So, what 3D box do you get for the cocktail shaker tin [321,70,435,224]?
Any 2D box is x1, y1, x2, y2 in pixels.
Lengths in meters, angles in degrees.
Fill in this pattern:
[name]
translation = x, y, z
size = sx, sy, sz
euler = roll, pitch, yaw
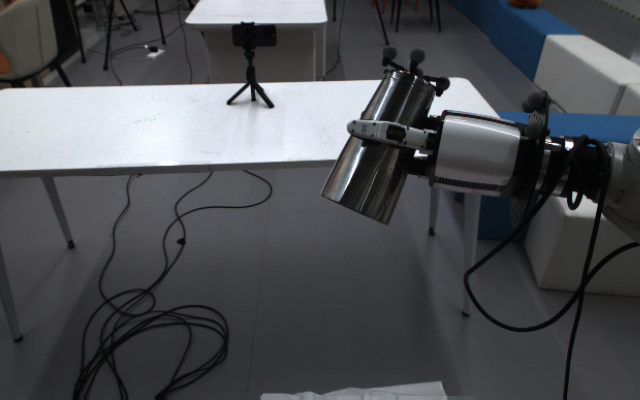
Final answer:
[cocktail shaker tin]
translation = 0.078, -0.068, 0.587
size = 0.093, 0.170, 0.093
euler = 23, 0, 0
